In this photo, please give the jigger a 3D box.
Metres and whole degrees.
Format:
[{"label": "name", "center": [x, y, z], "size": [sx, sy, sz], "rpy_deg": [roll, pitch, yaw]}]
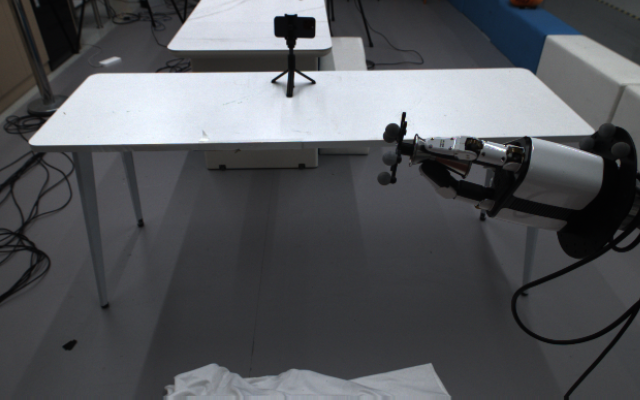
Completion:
[{"label": "jigger", "center": [0.151, -0.058, 0.583], "size": [0.071, 0.043, 0.043], "rpy_deg": [11, 35, 3]}]
